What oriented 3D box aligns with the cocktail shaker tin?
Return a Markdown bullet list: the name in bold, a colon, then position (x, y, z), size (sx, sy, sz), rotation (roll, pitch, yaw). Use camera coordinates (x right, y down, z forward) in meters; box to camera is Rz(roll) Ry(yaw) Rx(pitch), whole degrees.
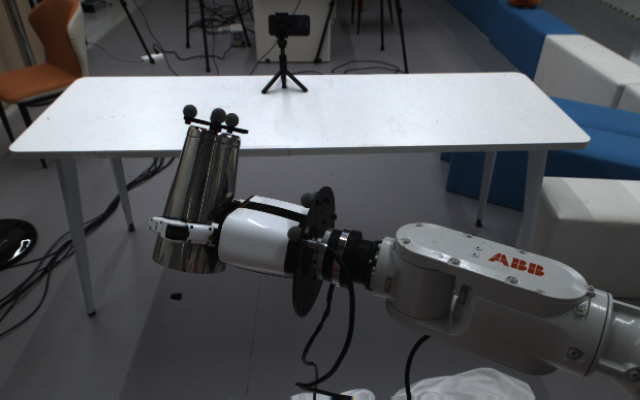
- **cocktail shaker tin**: position (-0.149, -0.002, 0.612), size (0.093, 0.170, 0.093), rotation (12, 5, -1)
